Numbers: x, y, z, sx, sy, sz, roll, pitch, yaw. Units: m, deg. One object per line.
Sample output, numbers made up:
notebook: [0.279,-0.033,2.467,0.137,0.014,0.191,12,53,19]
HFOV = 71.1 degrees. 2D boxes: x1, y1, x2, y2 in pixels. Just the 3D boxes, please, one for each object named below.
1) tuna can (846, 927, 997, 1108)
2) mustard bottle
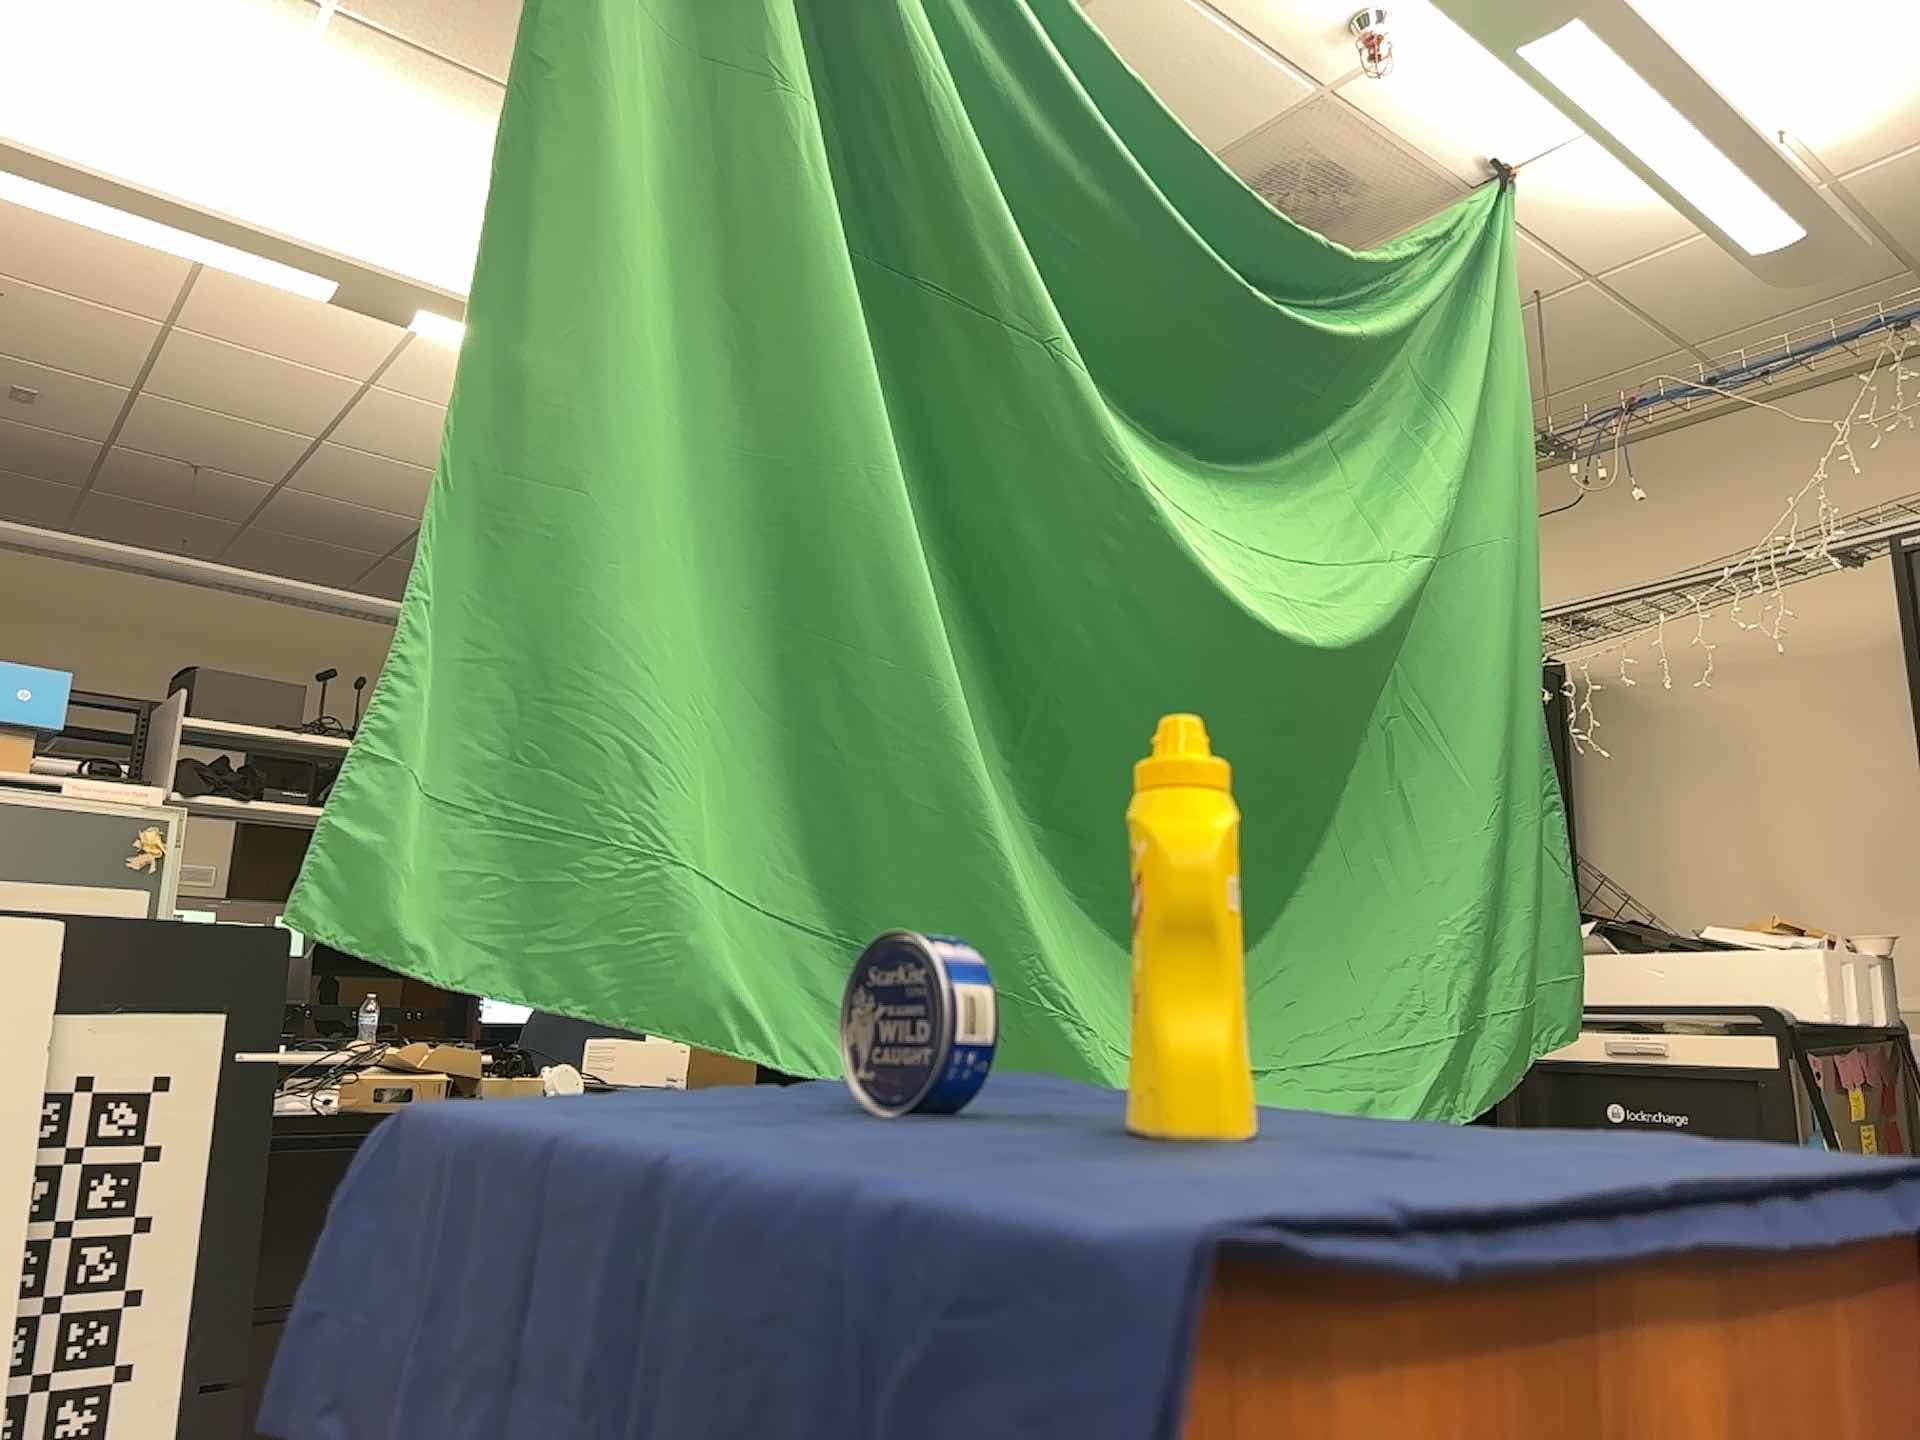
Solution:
tuna can: [-0.019,0.143,0.649,0.034,0.083,0.083,11,-15,-34]
mustard bottle: [0.099,0.085,0.585,0.054,0.184,0.092,0,-12,12]
